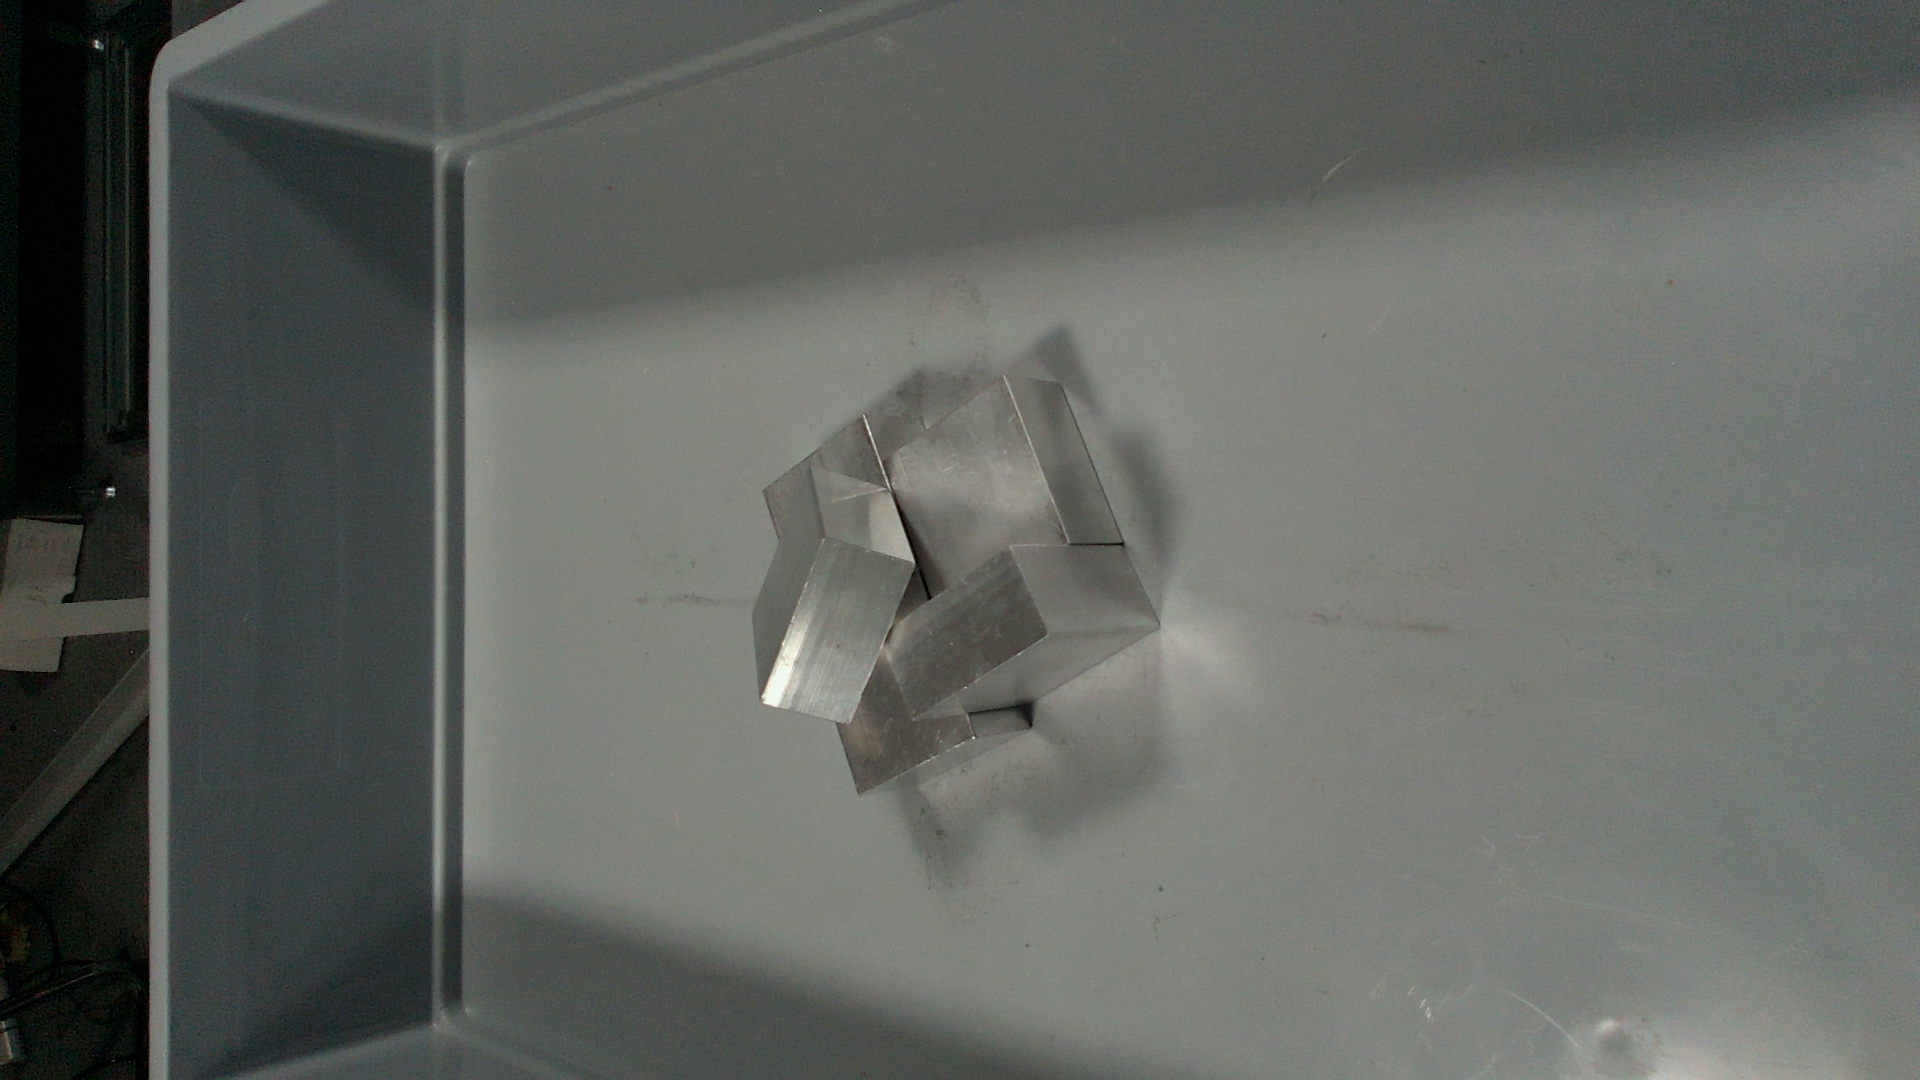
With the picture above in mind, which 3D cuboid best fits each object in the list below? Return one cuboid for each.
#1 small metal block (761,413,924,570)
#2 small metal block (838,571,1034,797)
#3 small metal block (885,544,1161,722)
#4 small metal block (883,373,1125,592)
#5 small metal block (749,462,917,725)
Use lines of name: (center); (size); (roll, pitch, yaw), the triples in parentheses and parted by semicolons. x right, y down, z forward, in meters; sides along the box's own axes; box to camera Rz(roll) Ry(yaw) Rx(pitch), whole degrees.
small metal block: (-0.029, -0.004, 0.418); (0.050, 0.025, 0.050); (-32, 70, 36)
small metal block: (-0.012, 0.042, 0.404); (0.050, 0.025, 0.050); (-32, 70, 36)
small metal block: (0.016, 0.024, 0.363); (0.050, 0.050, 0.025); (-35, 68, 34)
small metal block: (0.011, -0.011, 0.384); (0.050, 0.025, 0.050); (-32, 70, 36)
small metal block: (-0.036, 0.014, 0.375); (0.050, 0.025, 0.050); (-114, 44, -63)
